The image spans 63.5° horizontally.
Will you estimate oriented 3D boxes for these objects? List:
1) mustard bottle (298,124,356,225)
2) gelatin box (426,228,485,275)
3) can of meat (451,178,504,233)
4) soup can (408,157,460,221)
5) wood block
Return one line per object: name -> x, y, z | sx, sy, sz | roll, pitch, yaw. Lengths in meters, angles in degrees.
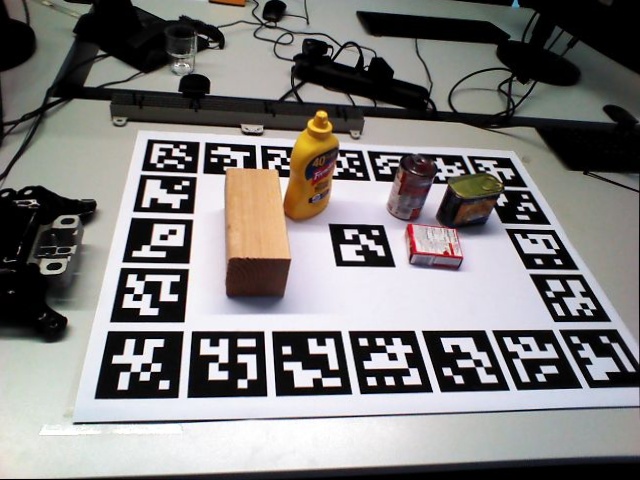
mustard bottle -> 0.014, -0.114, 0.863 | 0.096, 0.192, 0.058 | -18, 51, -28
gelatin box -> 0.227, 0.019, 0.873 | 0.089, 0.030, 0.073 | 7, 46, 0
can of meat -> 0.296, -0.061, 0.936 | 0.101, 0.084, 0.057 | -8, 48, -21
soup can -> 0.201, -0.092, 0.922 | 0.068, 0.102, 0.067 | 5, 46, -6
wood block -> -0.078, -0.010, 0.807 | 0.091, 0.090, 0.205 | 3, 41, -10
